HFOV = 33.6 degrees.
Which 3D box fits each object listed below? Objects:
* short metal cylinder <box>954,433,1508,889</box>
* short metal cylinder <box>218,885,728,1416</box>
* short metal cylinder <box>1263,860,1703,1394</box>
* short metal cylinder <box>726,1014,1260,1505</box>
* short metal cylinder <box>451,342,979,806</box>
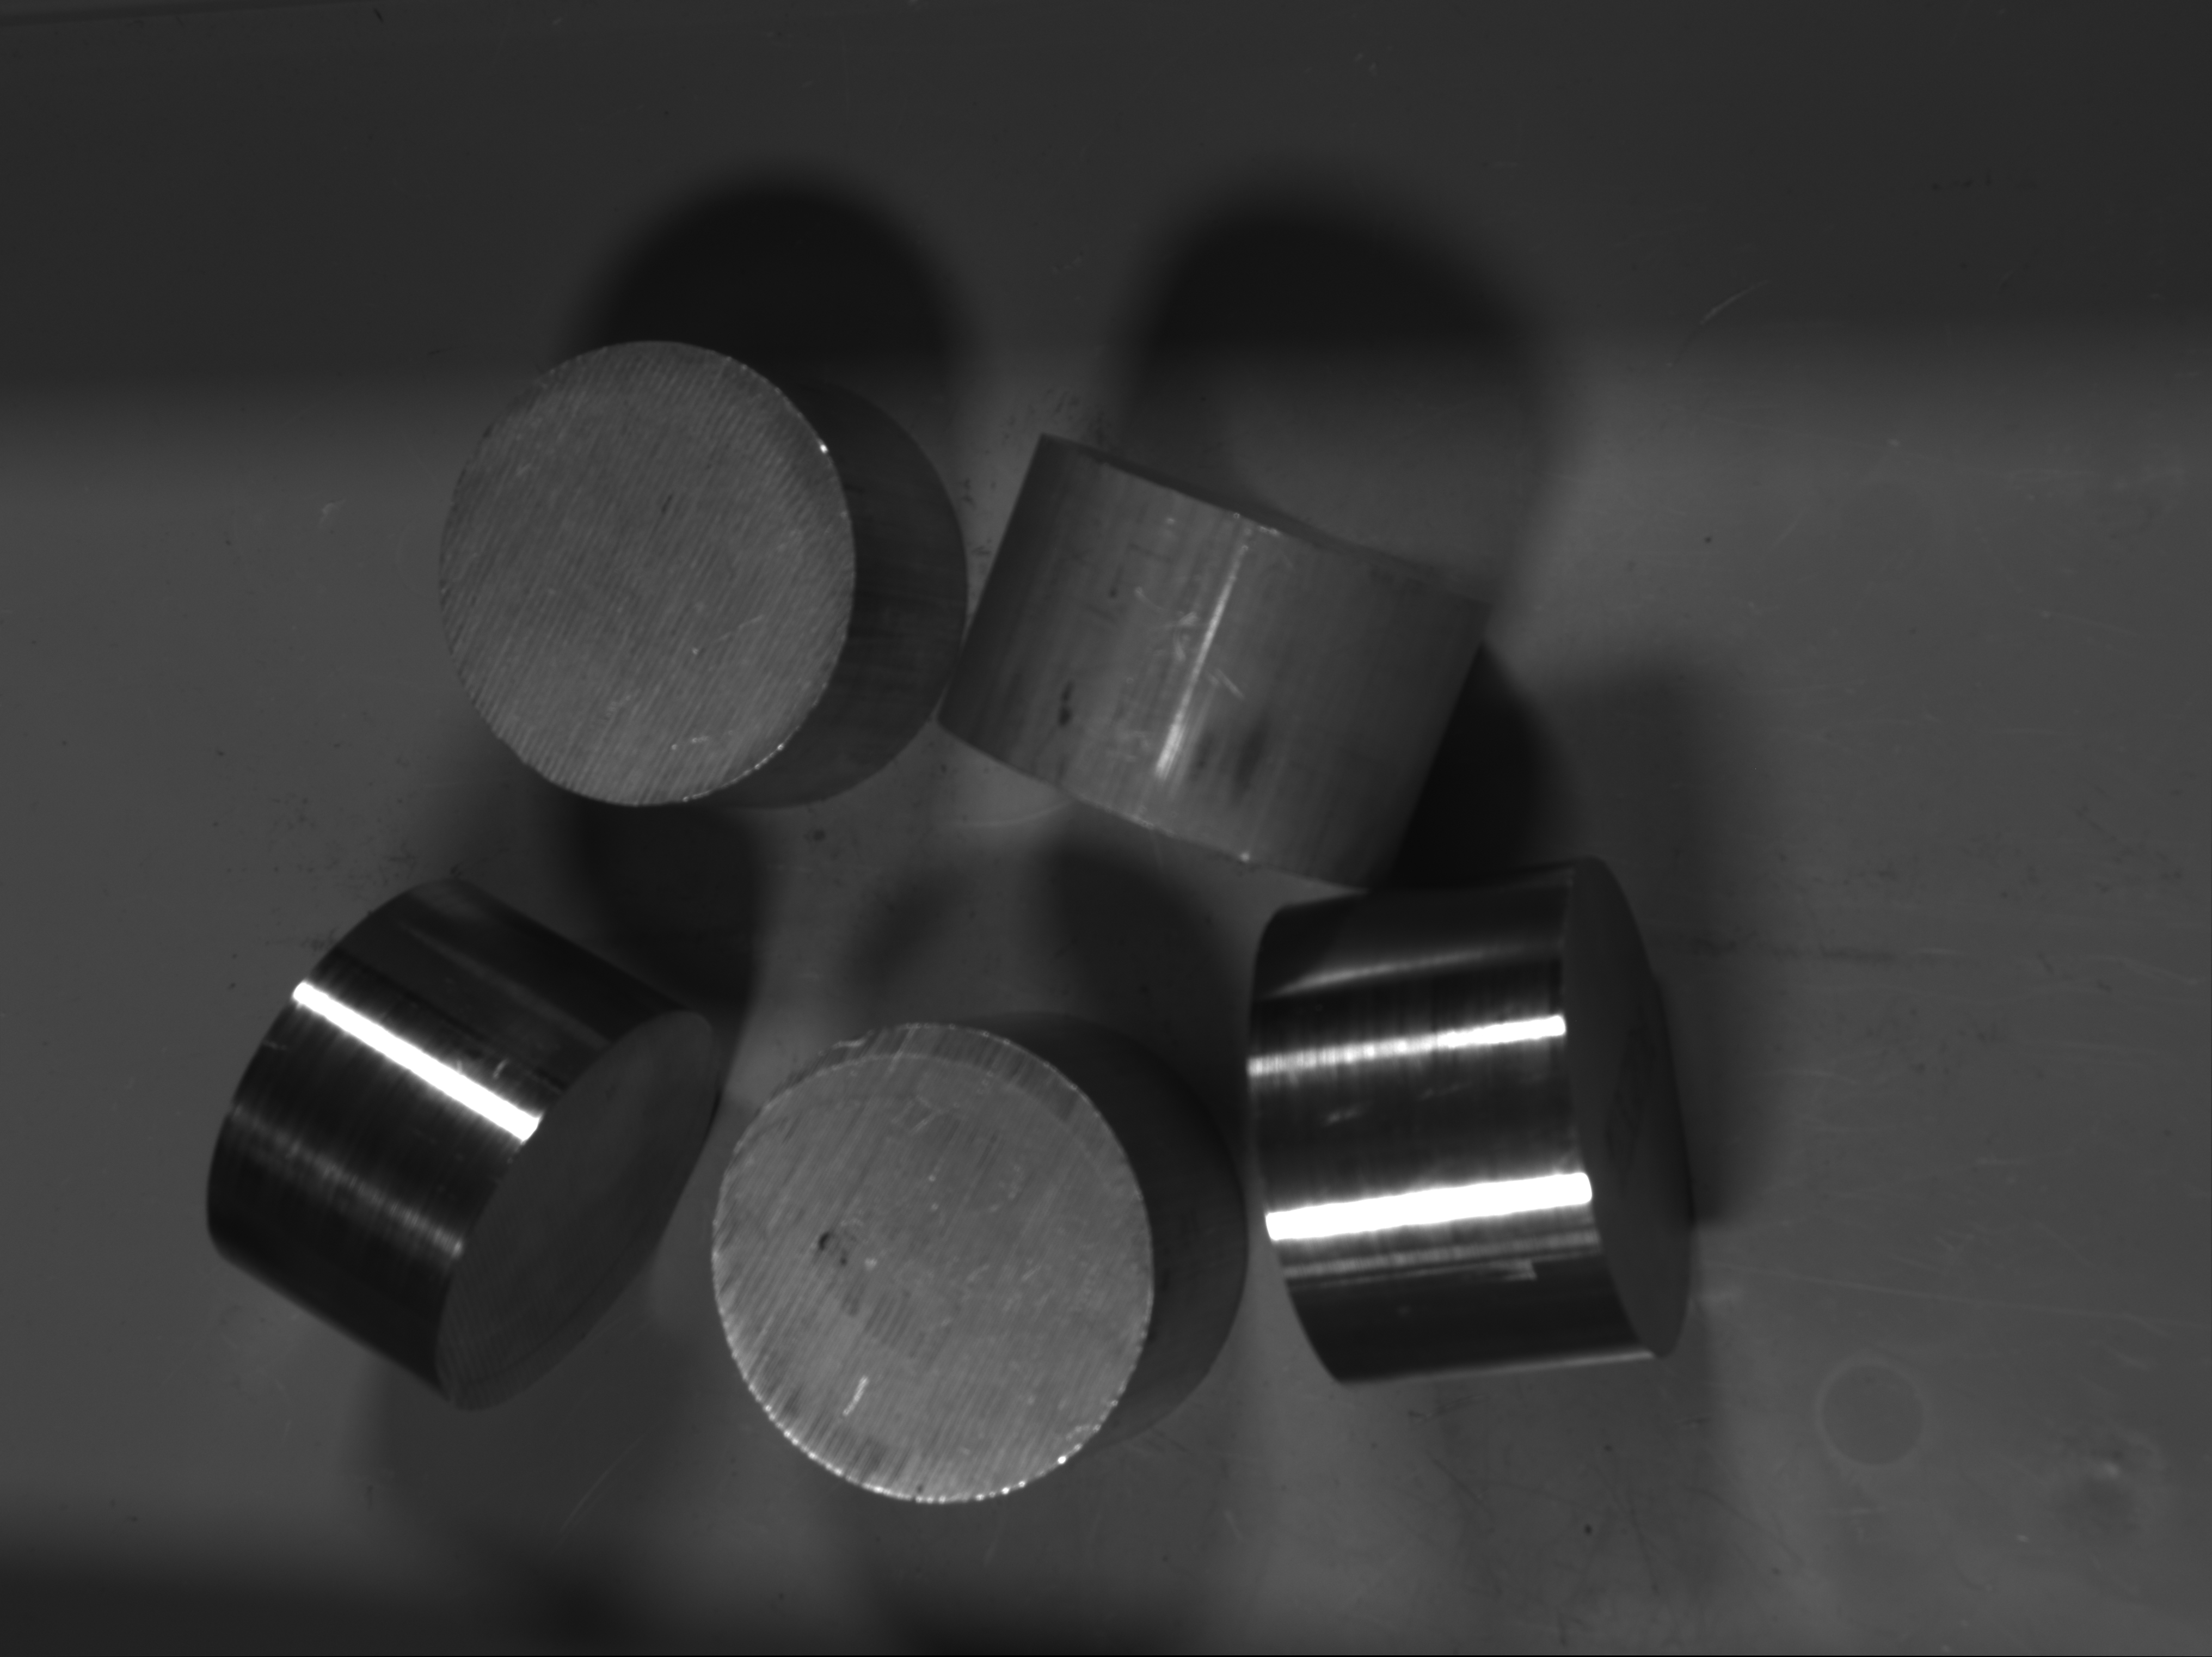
[{"bbox_3d":[0.021,-0.028,0.608,0.080,0.080,0.050,23,97,18],"label":"short metal cylinder"},{"bbox_3d":[-0.112,0.057,0.653,0.050,0.080,0.080,28,99,18],"label":"short metal cylinder"},{"bbox_3d":[0.062,0.049,0.591,0.050,0.080,0.080,-10,87,20],"label":"short metal cylinder"},{"bbox_3d":[-0.019,0.073,0.636,0.080,0.050,0.080,0,90,20],"label":"short metal cylinder"},{"bbox_3d":[-0.069,-0.044,0.654,0.080,0.050,0.080,0,90,20],"label":"short metal cylinder"}]
